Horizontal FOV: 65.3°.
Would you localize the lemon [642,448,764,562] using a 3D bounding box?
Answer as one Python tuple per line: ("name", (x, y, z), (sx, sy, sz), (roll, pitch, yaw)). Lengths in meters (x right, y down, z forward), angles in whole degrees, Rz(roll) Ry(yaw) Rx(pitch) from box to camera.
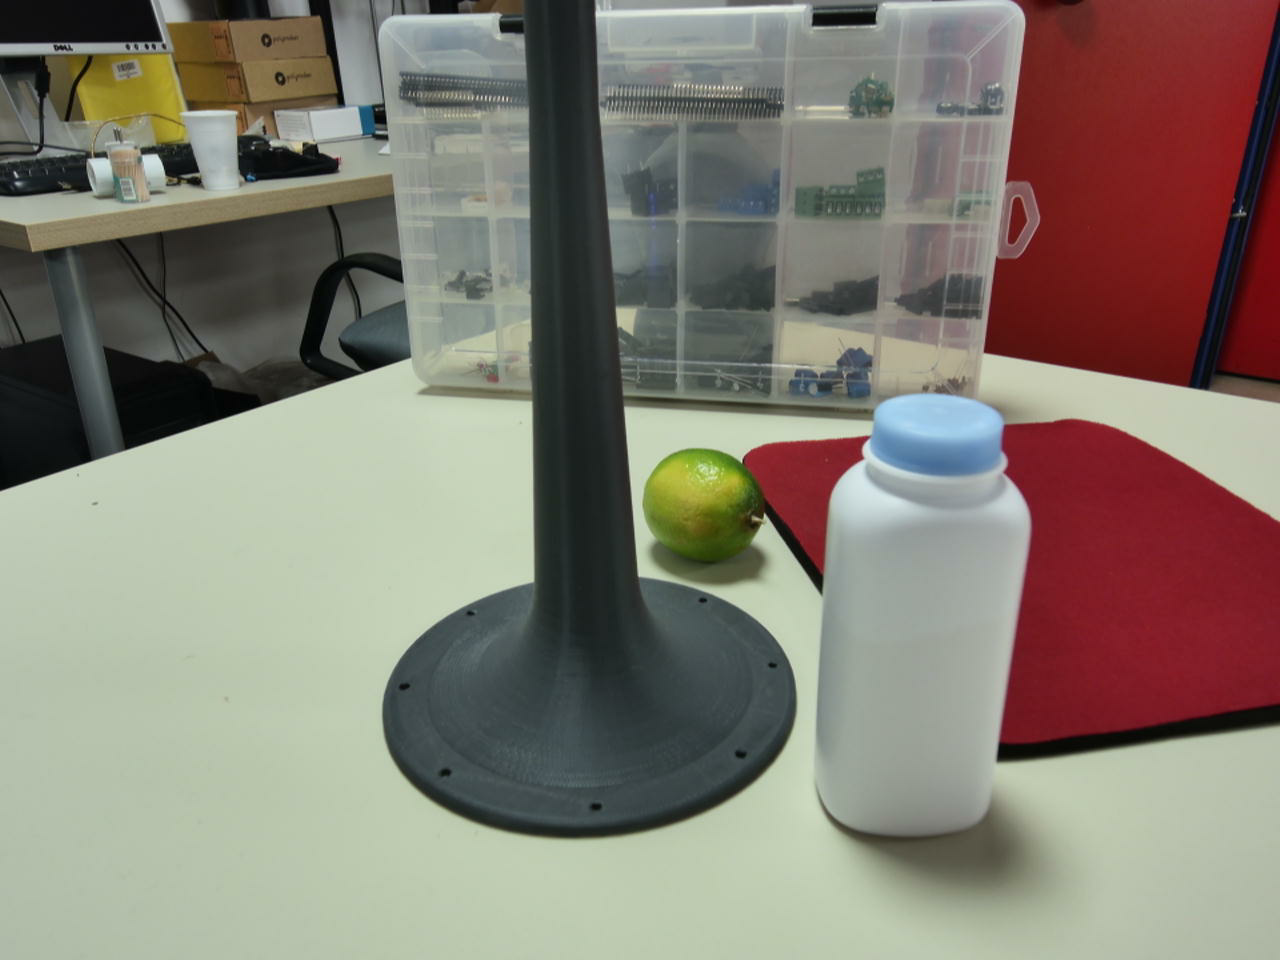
("lemon", (0.029, 0.011, 0.457), (0.054, 0.050, 0.055), (-1, 23, -1))
